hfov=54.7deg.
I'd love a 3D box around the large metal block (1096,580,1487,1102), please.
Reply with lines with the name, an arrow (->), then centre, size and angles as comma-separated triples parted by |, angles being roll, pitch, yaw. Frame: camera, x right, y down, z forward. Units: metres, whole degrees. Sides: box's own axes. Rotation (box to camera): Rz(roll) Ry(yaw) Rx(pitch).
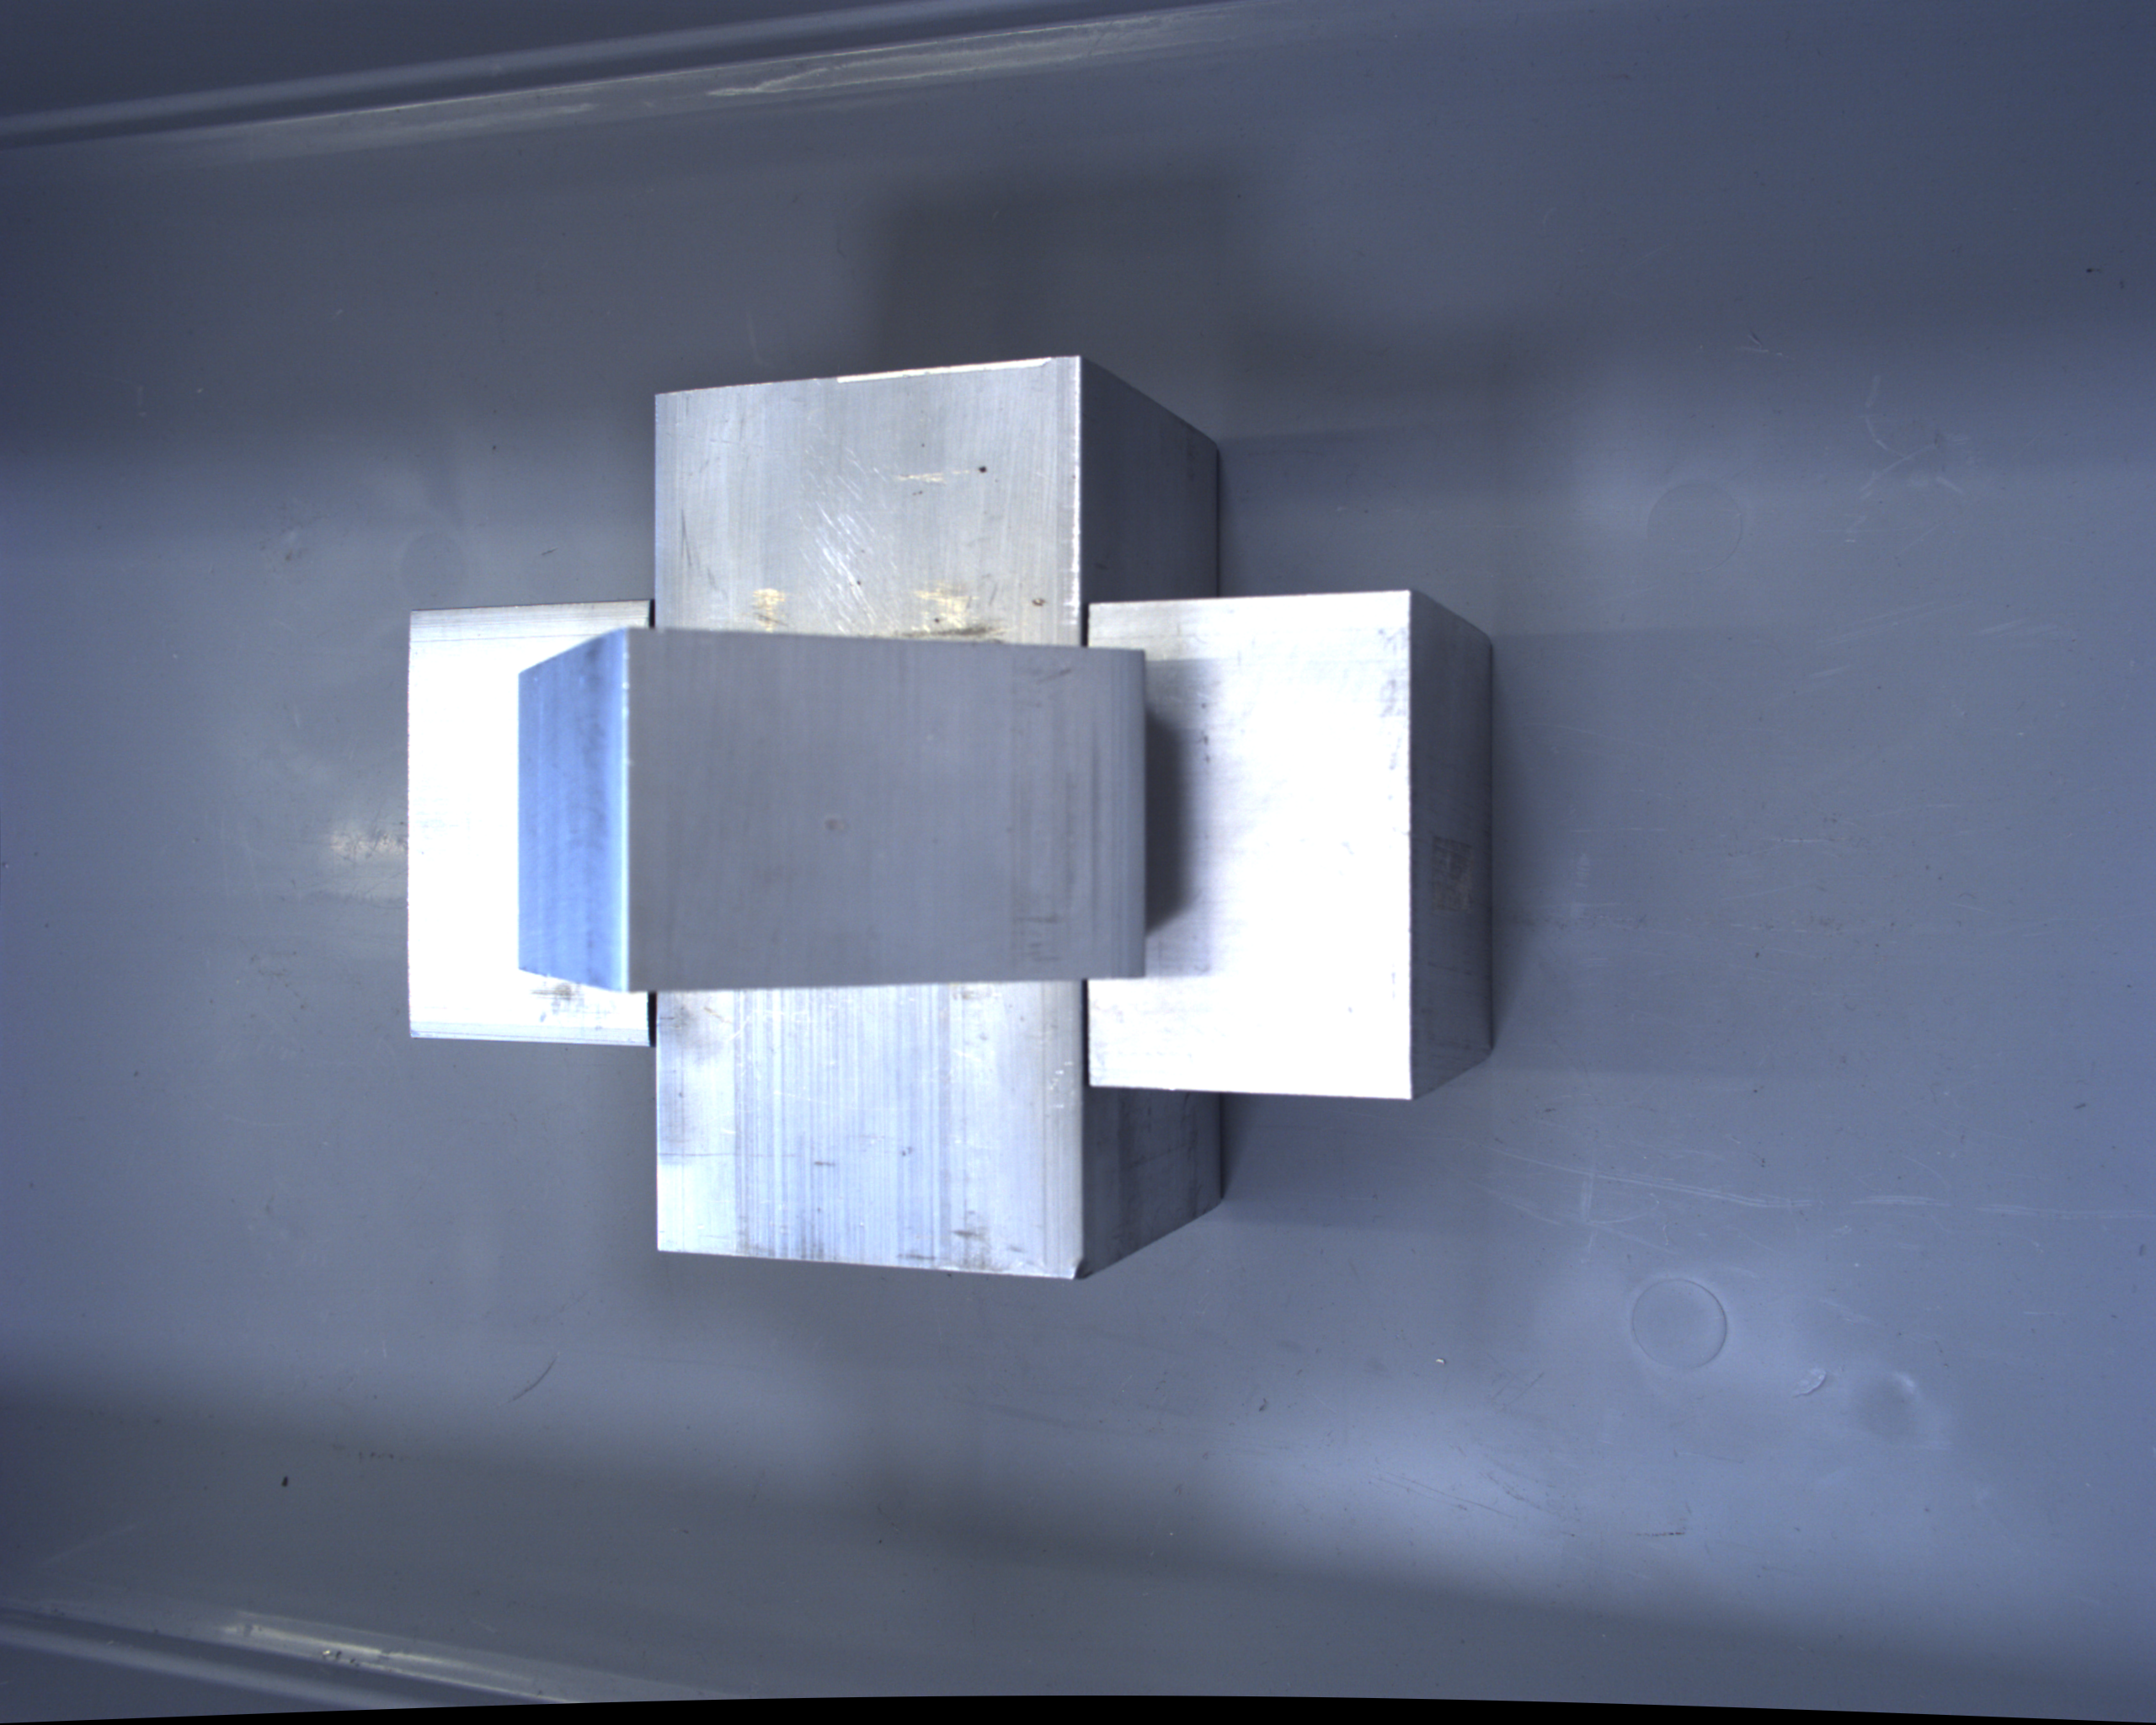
large metal block -> 0.040, -0.004, 0.364 | 0.050, 0.080, 0.080 | 0, 90, 19

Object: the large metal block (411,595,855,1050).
large metal block -> -0.084, -0.007, 0.410 | 0.050, 0.080, 0.080 | 0, 90, 20

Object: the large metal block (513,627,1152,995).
large metal block -> -0.042, -0.007, 0.335 | 0.081, 0.080, 0.050 | 0, 90, -25

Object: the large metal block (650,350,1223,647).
large metal block -> -0.023, -0.058, 0.388 | 0.080, 0.080, 0.050 | 0, 90, 20

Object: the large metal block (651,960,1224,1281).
large metal block -> -0.023, 0.042, 0.388 | 0.080, 0.080, 0.050 | 0, 90, 20
